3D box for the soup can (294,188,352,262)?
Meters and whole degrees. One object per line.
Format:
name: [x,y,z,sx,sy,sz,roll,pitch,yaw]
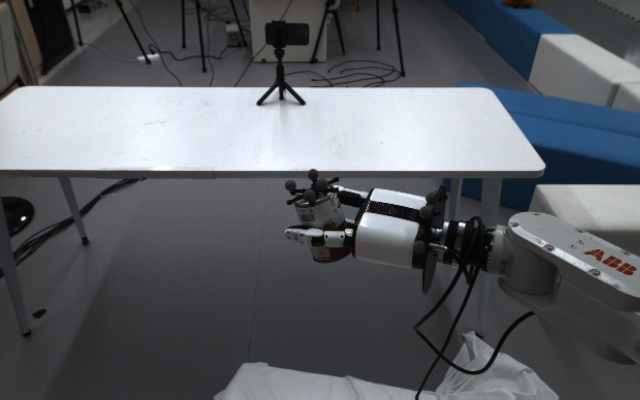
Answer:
soup can: [0.007,0.036,0.736,0.067,0.101,0.067,-16,22,7]
